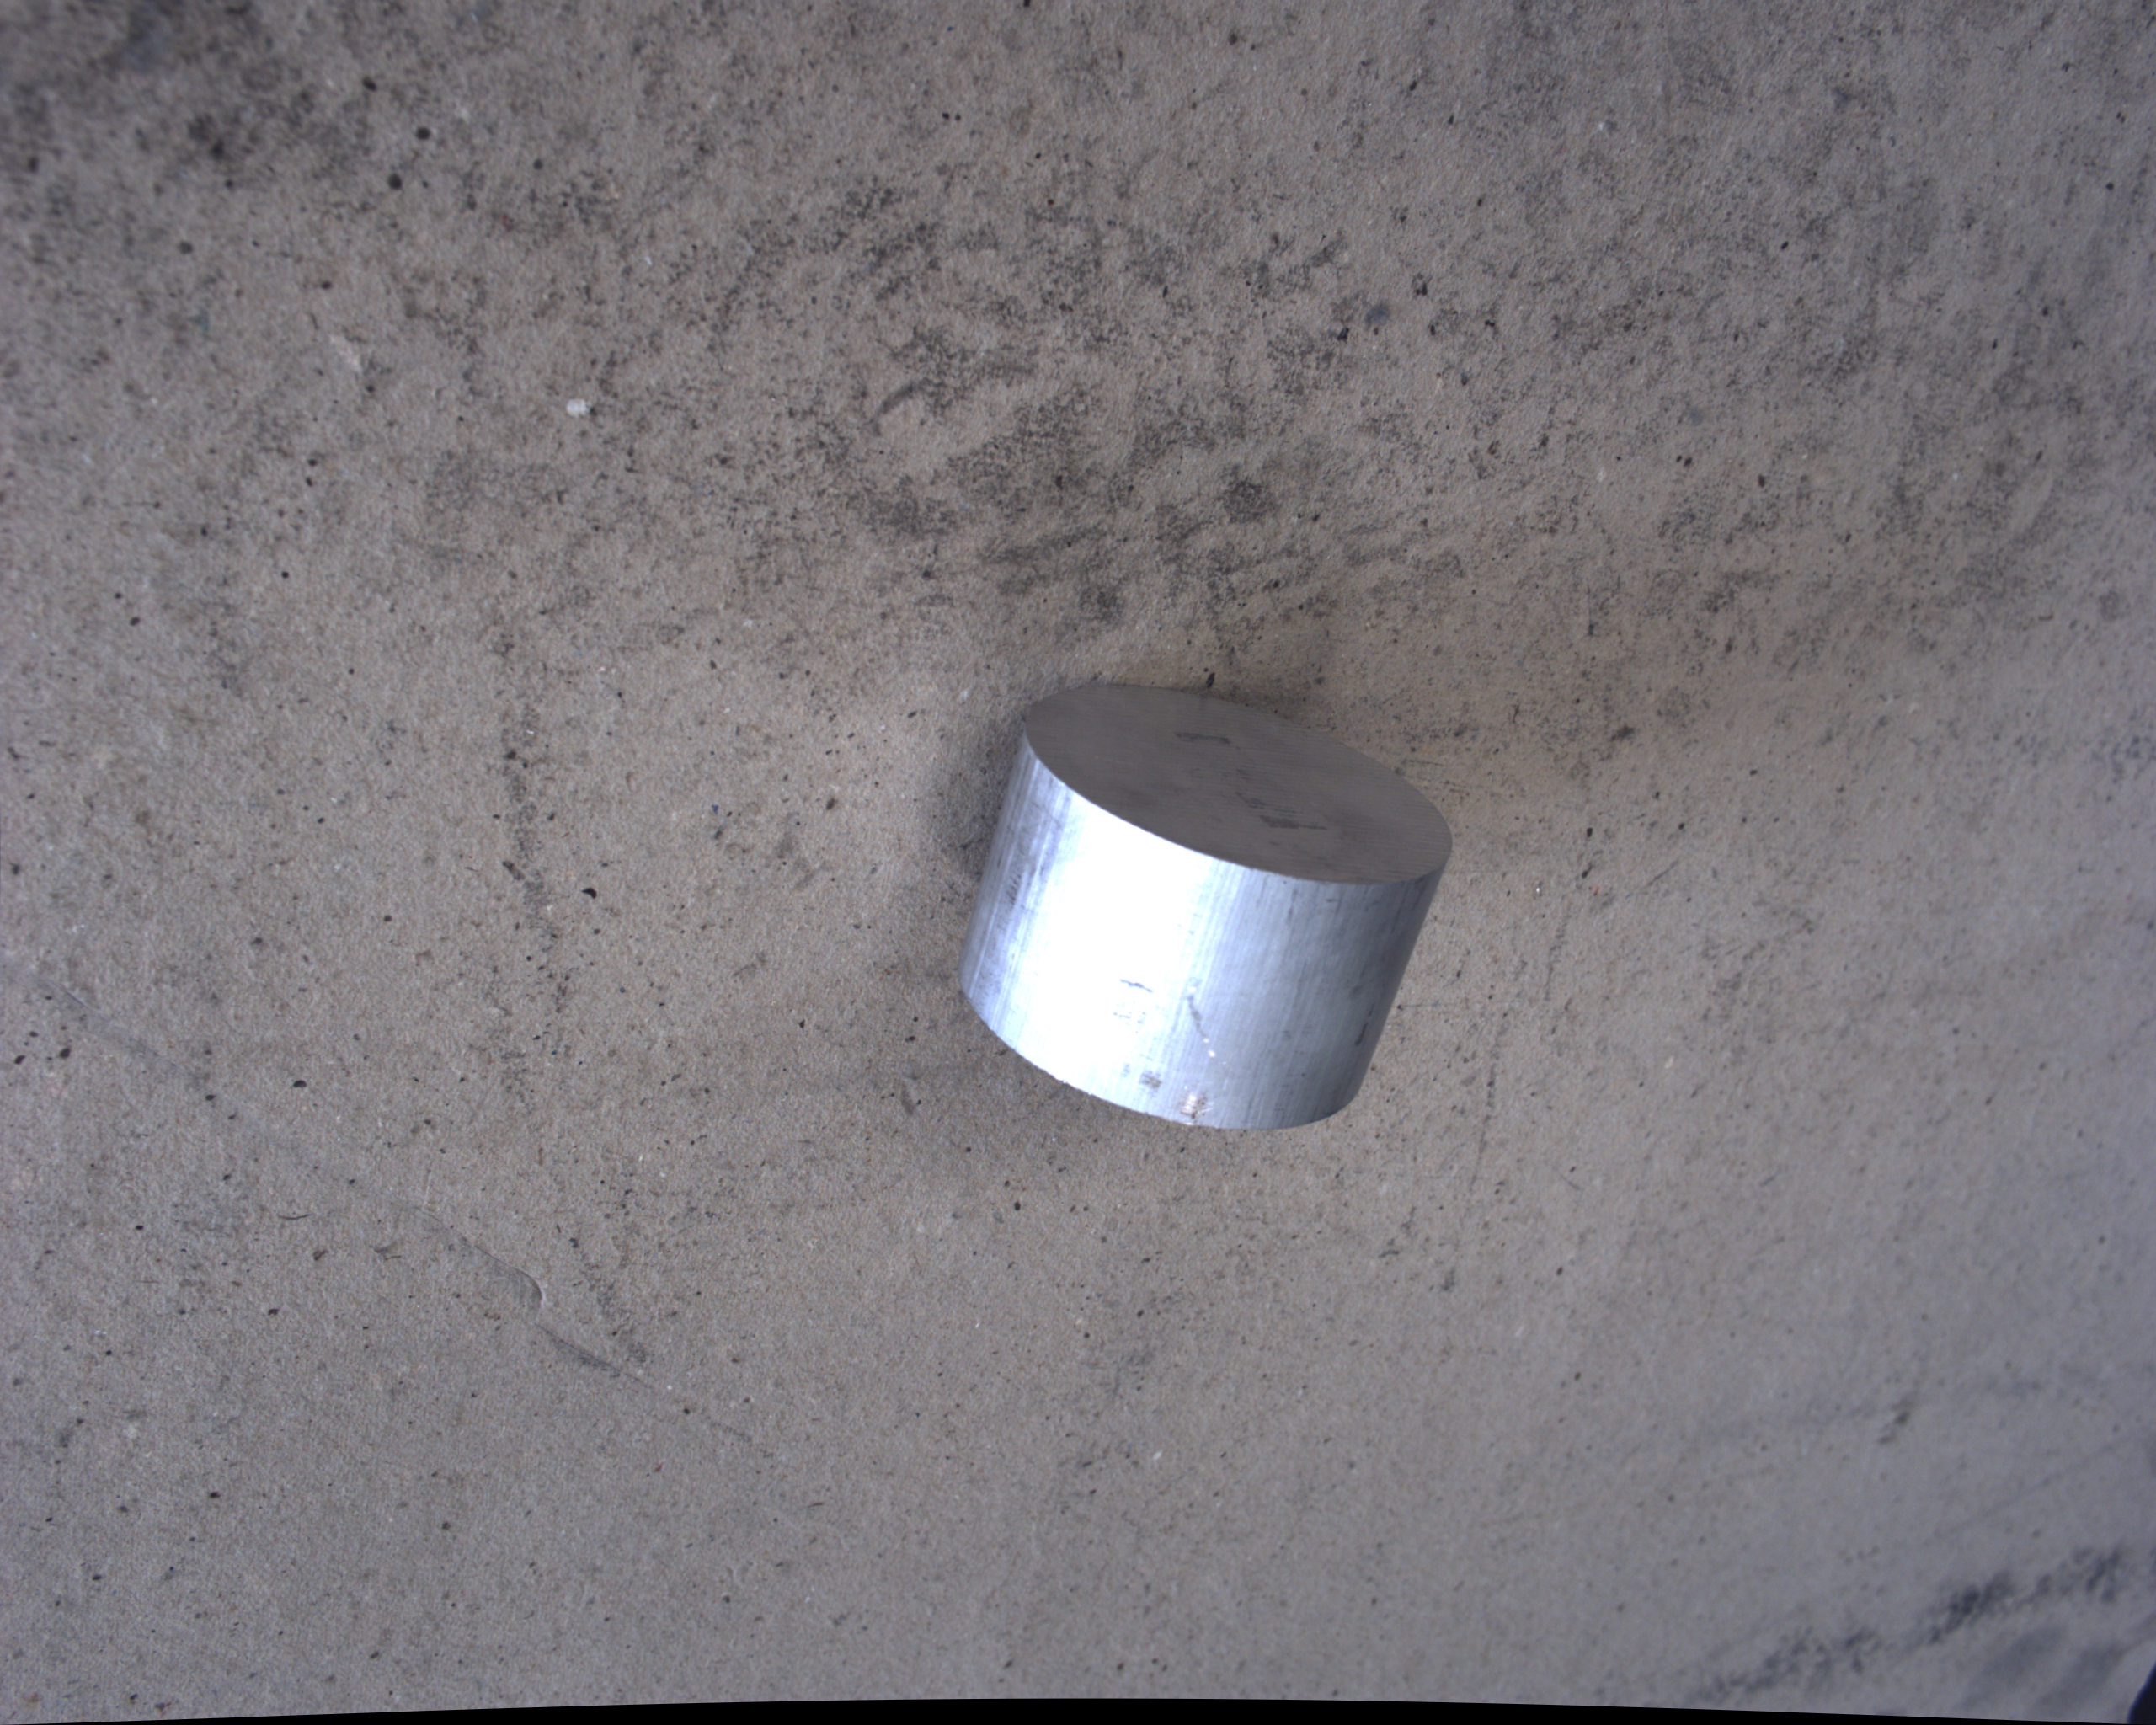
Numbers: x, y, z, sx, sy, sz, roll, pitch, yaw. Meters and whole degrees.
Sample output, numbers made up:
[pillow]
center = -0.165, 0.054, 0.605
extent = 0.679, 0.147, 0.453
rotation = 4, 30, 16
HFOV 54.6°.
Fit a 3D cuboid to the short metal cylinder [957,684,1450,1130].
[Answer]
[short metal cylinder]
center = 0.023, 0.006, 0.388
extent = 0.081, 0.080, 0.050
rotation = 2, 118, -29
